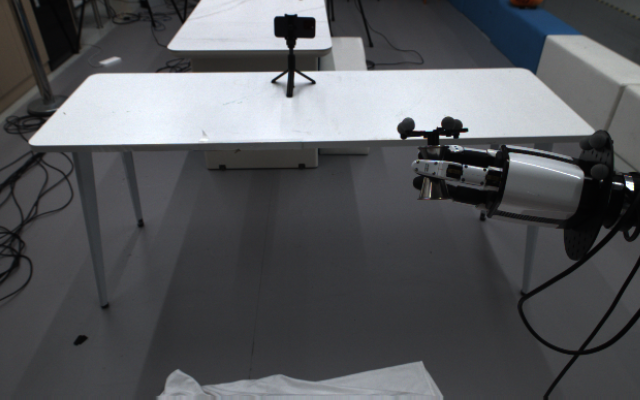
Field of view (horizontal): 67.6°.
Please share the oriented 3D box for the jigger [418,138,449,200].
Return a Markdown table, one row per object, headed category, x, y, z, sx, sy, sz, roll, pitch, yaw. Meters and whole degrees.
| category | x | y | z | sx | sy | sz | roll | pitch | yaw |
| --- | --- | --- | --- | --- | --- | --- | --- | --- | --- |
| jigger | 0.146 | -0.036 | 0.626 | 0.043 | 0.071 | 0.043 | -2 | 3 | 0 |
